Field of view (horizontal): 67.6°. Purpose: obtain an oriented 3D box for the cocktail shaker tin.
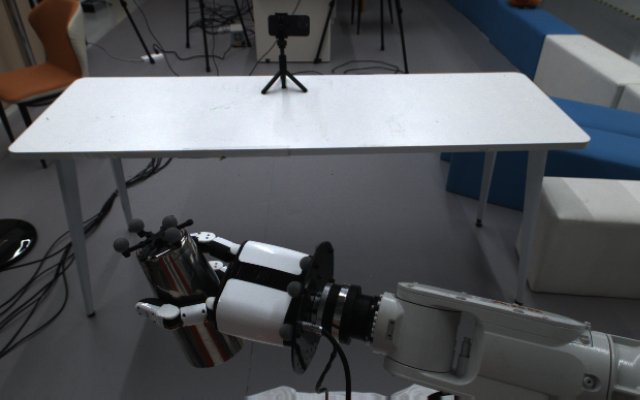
[{"bbox_3d":[-0.165,0.123,0.616,0.093,0.170,0.093,-15,27,8],"label":"cocktail shaker tin"}]
